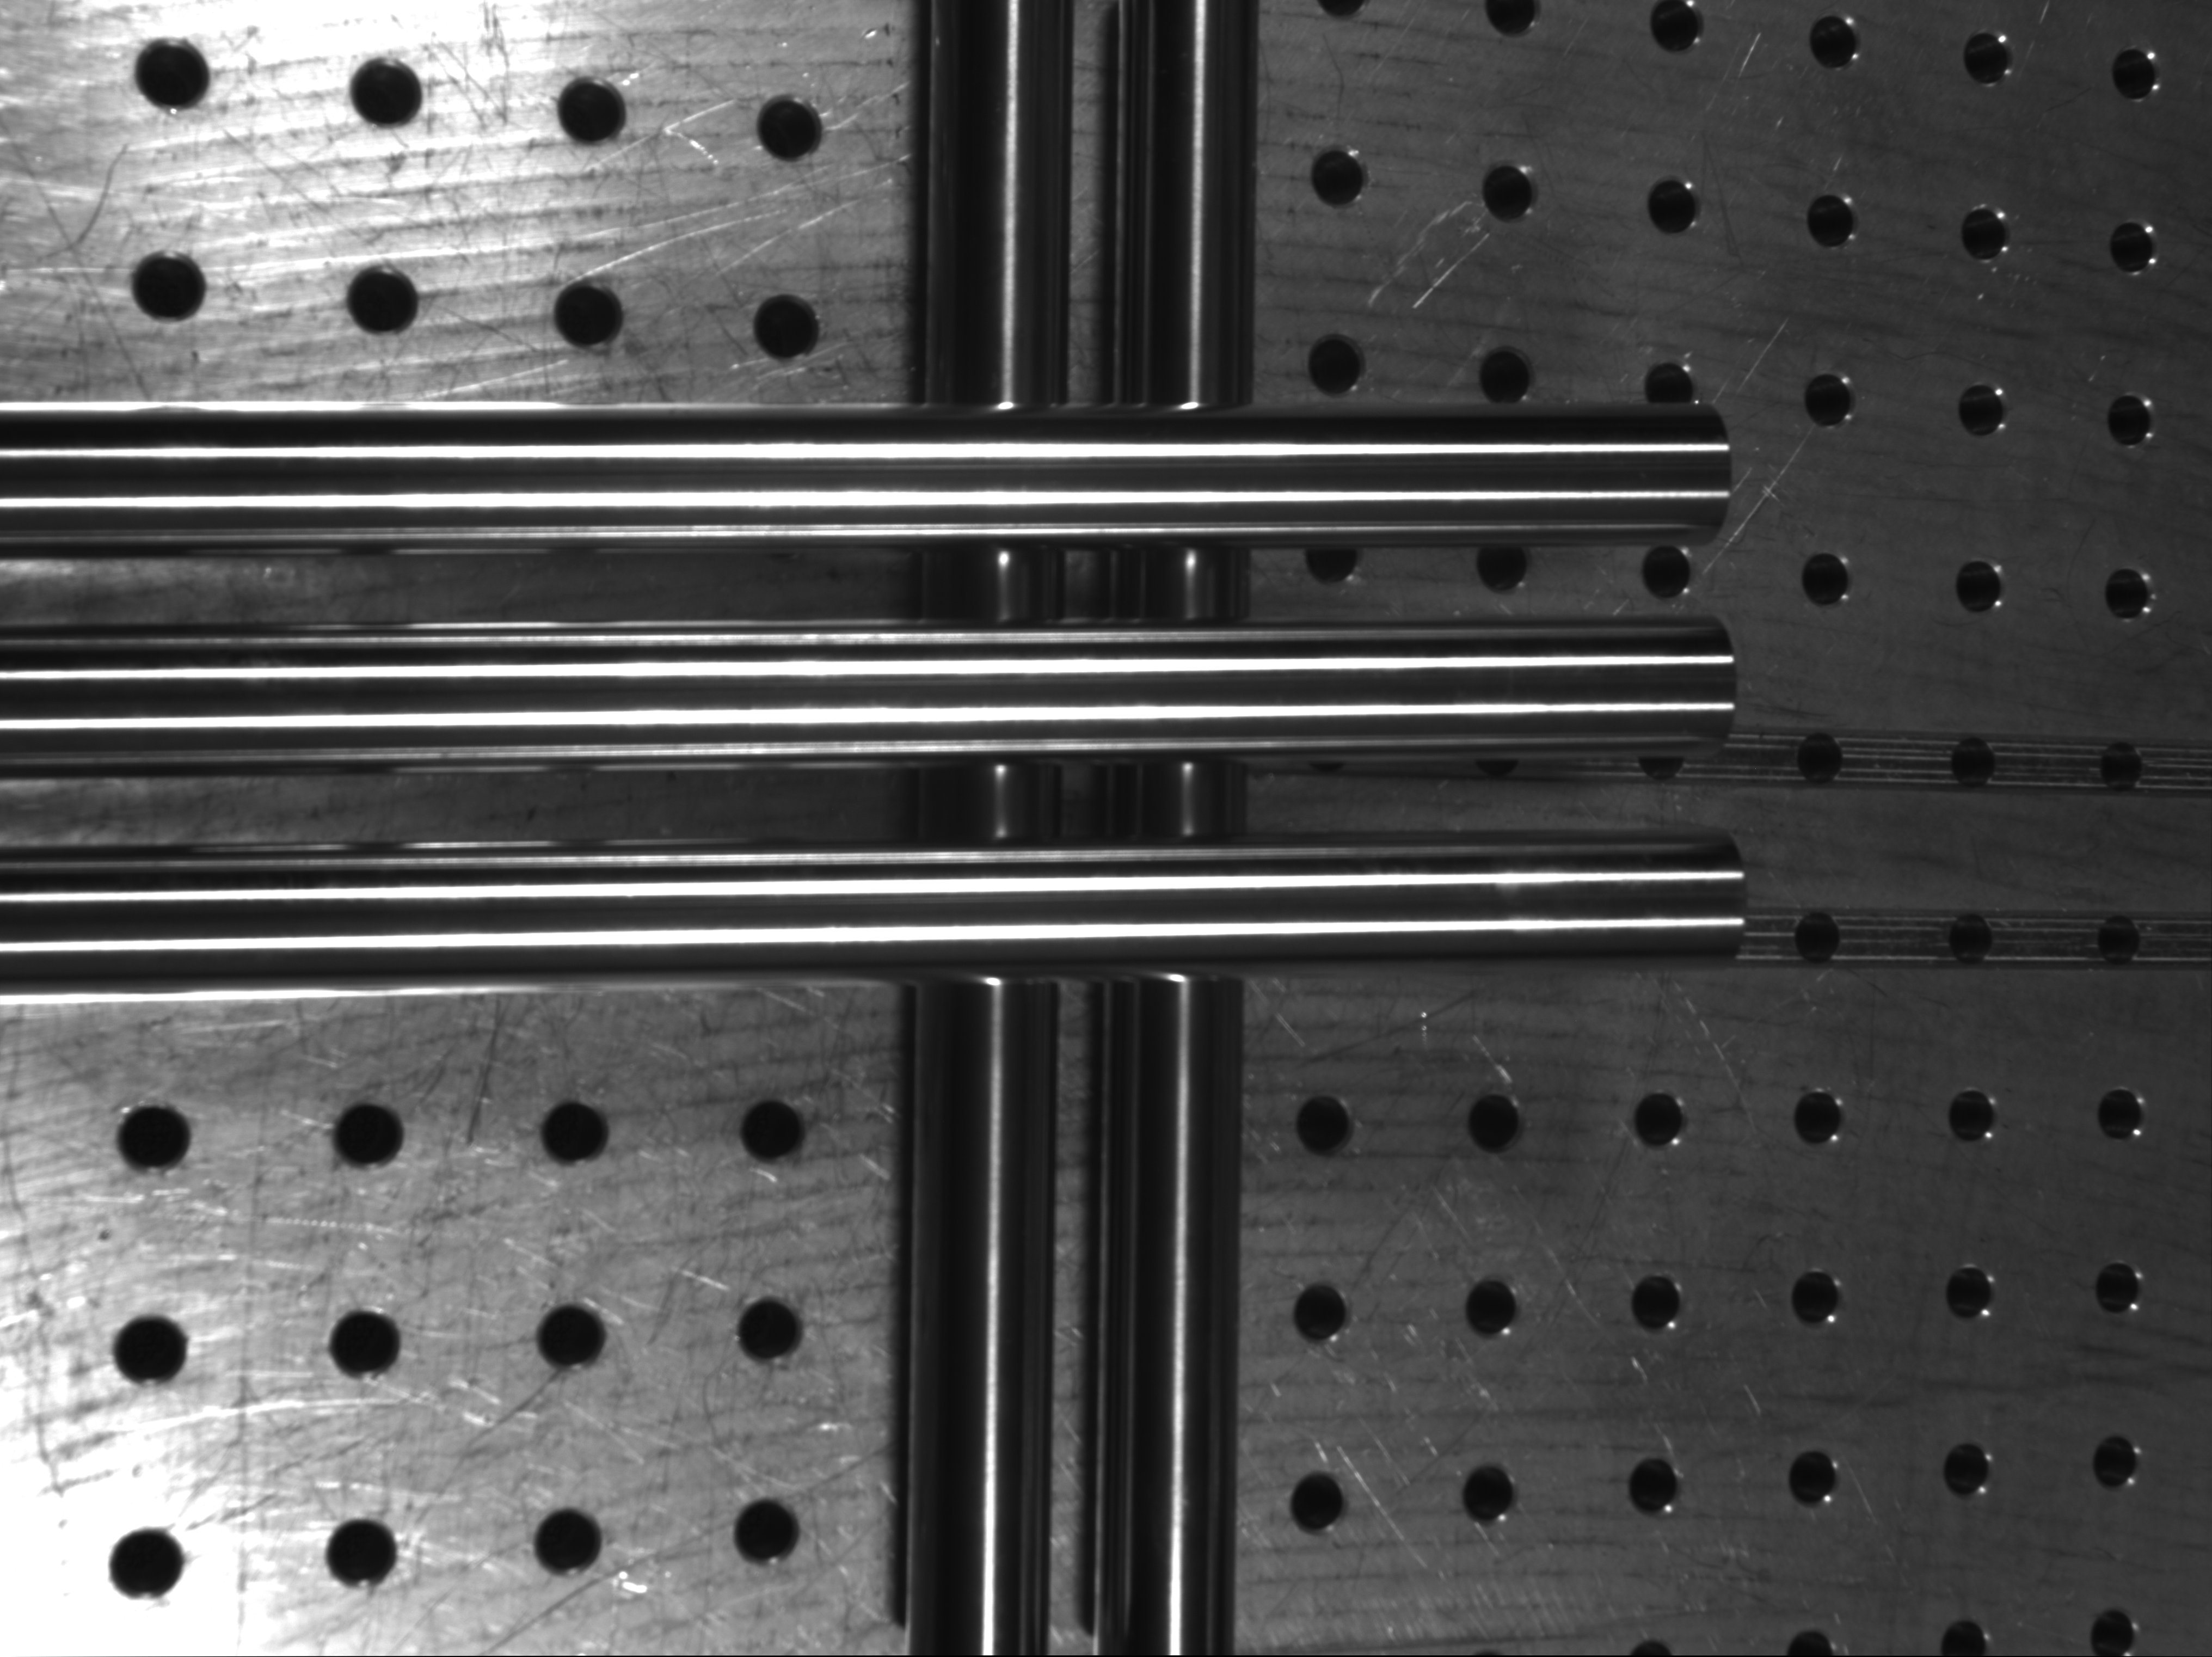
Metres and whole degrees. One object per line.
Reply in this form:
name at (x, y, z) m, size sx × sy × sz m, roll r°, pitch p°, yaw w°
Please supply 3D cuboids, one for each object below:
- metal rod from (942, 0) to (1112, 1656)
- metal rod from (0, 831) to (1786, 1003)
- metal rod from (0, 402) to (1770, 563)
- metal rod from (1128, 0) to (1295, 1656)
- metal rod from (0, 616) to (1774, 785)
metal rod at (-0.014, -0.006, 0.641) m, size 0.025 × 0.025 × 0.300 m, roll 1°, pitch 90°, yaw -20°
metal rod at (-0.033, 0.014, 0.612) m, size 0.300 × 0.025 × 0.025 m, roll 0°, pitch 90°, yaw -11°
metal rod at (-0.035, -0.058, 0.611) m, size 0.300 × 0.025 × 0.025 m, roll -1°, pitch 90°, yaw -12°
metal rod at (0.019, -0.002, 0.653) m, size 0.025 × 0.025 × 0.300 m, roll 1°, pitch 90°, yaw -20°
metal rod at (-0.035, -0.022, 0.611) m, size 0.300 × 0.025 × 0.025 m, roll -1°, pitch 90°, yaw -12°
